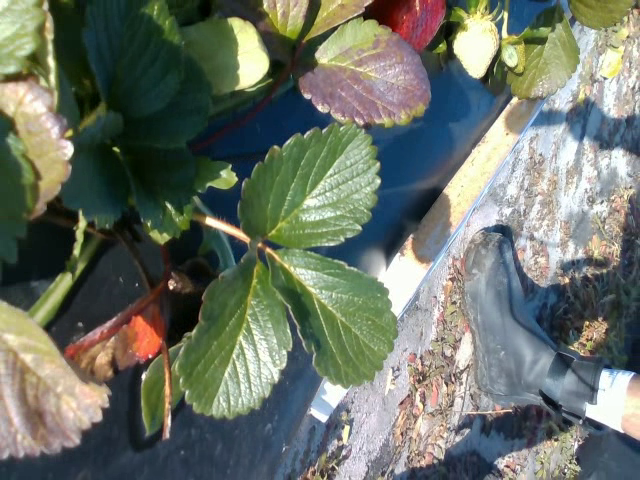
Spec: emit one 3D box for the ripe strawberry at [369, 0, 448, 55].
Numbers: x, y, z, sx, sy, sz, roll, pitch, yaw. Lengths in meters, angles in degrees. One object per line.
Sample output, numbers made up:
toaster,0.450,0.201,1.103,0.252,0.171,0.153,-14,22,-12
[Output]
ripe strawberry,0.031,-0.086,0.232,0.036,0.044,0.054,32,27,3
